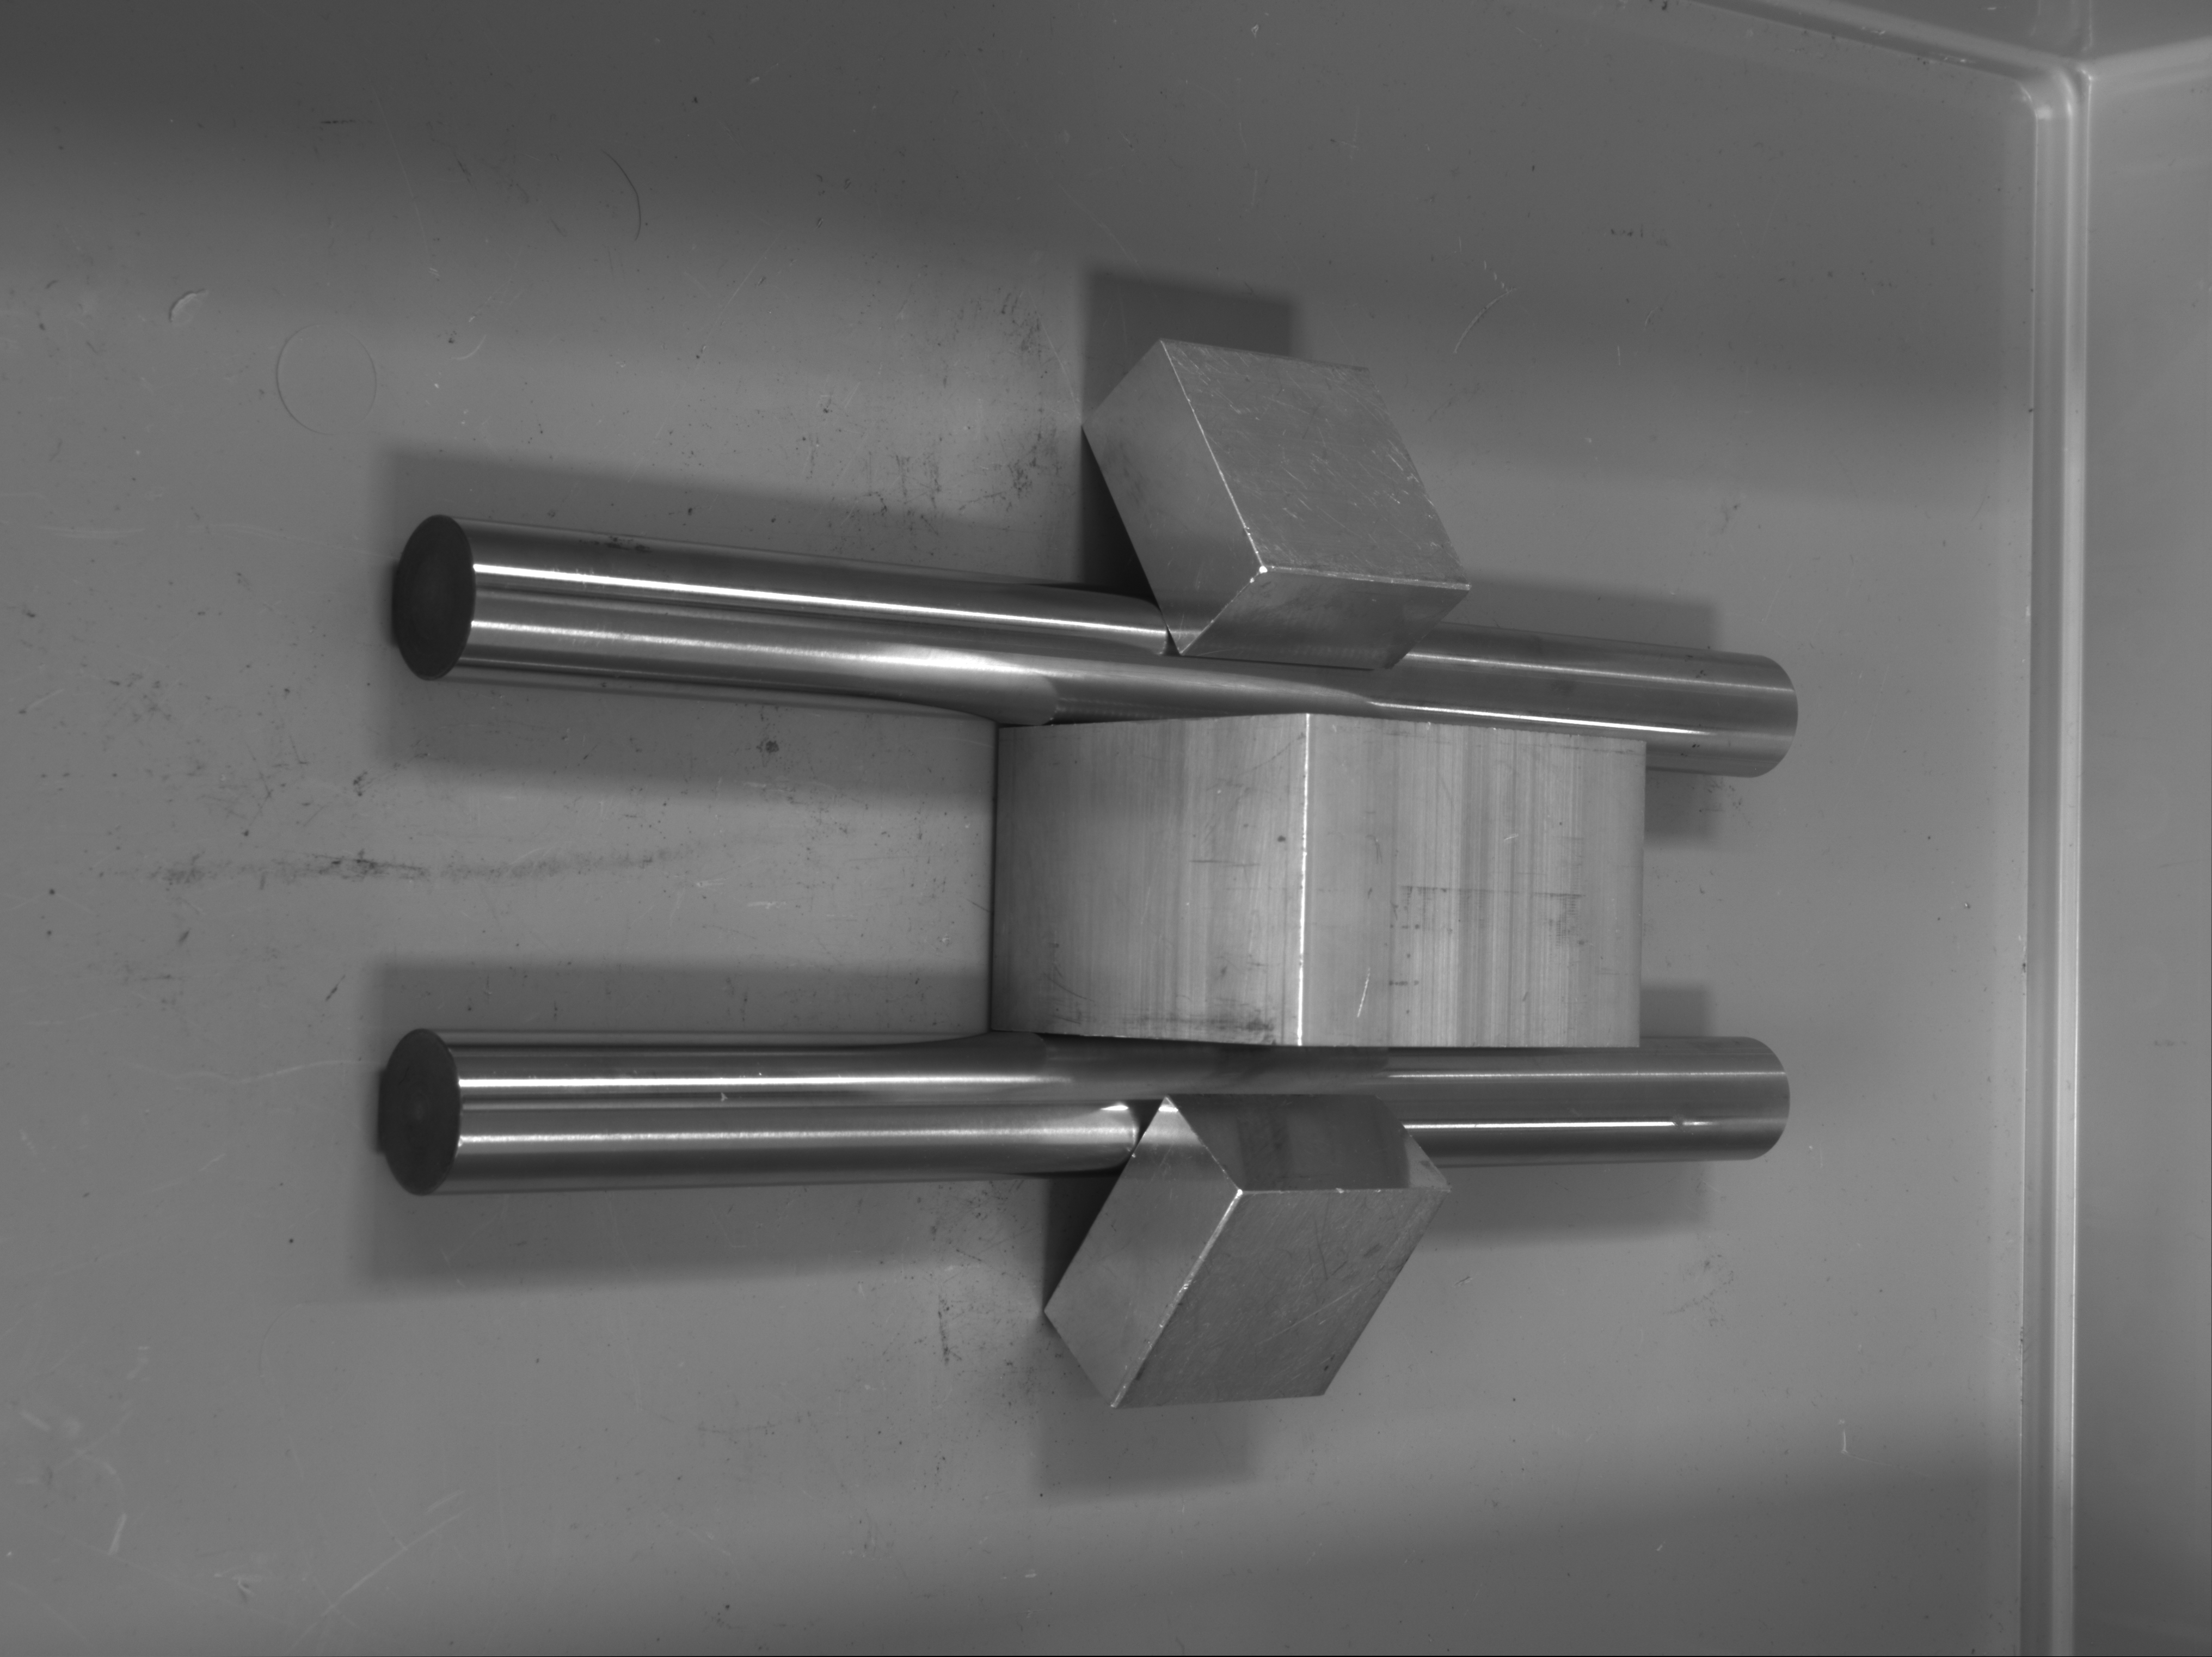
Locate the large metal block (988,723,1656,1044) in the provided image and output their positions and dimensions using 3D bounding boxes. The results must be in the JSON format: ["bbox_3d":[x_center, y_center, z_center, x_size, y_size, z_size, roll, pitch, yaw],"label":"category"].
[{"bbox_3d":[0.036,0.010,0.628,0.080,0.080,0.050,2,88,-40],"label":"large metal block"}]

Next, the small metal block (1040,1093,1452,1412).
[{"bbox_3d":[0.024,0.073,0.639,0.050,0.025,0.050,4,125,-40],"label":"small metal block"}]

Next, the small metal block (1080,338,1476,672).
[{"bbox_3d":[0.030,-0.056,0.645,0.050,0.025,0.050,2,55,-40],"label":"small metal block"}]

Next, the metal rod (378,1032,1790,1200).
[{"bbox_3d":[0.013,0.049,0.646,0.301,0.025,0.025,3,88,-40],"label":"metal rod"}]

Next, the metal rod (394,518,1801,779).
[{"bbox_3d":[0.015,-0.028,0.646,0.301,0.025,0.025,3,88,-40],"label":"metal rod"}]
